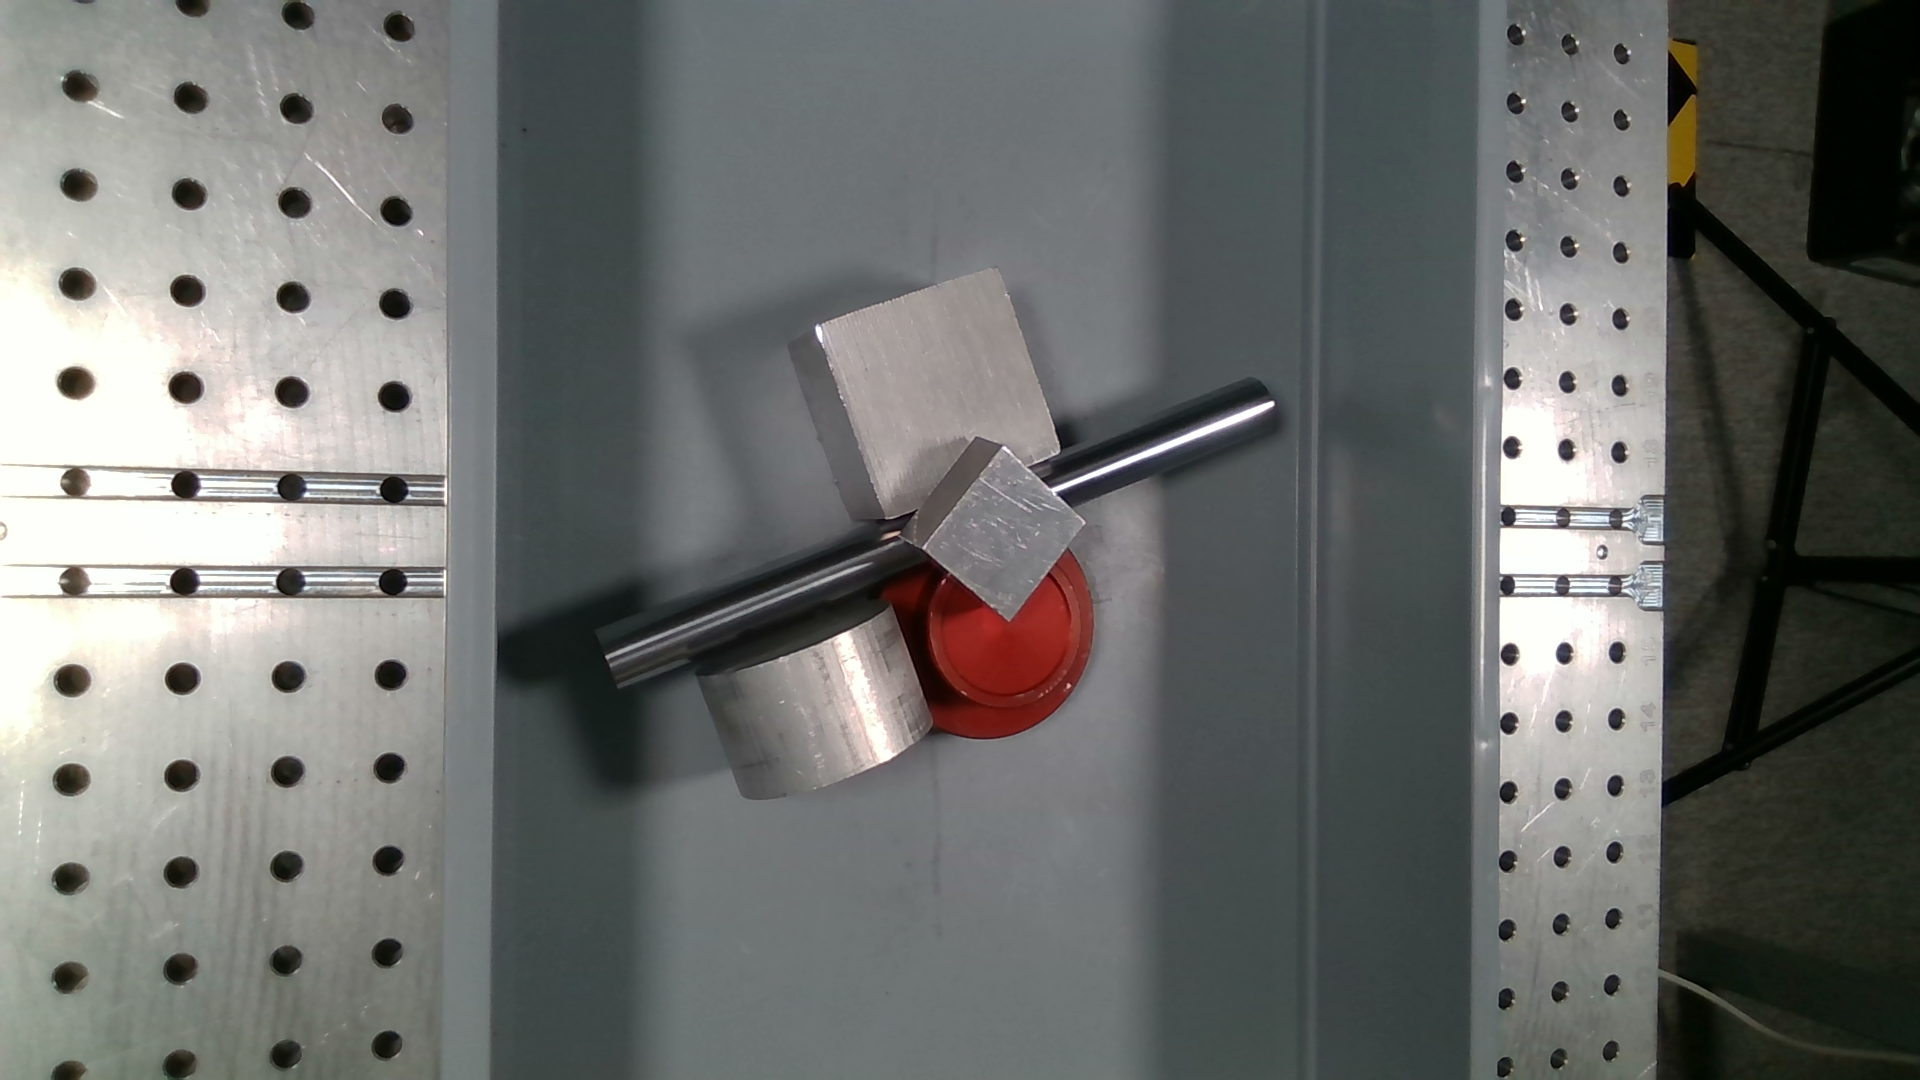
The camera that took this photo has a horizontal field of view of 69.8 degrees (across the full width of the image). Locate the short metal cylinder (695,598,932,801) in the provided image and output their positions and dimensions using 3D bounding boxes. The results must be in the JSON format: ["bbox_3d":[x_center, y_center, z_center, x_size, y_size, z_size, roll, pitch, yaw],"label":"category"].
[{"bbox_3d":[-0.056,0.061,0.535,0.080,0.080,0.050,-22,97,-19],"label":"short metal cylinder"}]

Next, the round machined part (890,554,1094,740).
[{"bbox_3d":[0.013,0.035,0.580,0.098,0.042,0.098,0,90,-20],"label":"round machined part"}]

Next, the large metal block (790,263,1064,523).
[{"bbox_3d":[-0.015,-0.059,0.563,0.080,0.050,0.080,-22,98,-19],"label":"large metal block"}]

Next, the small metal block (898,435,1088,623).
[{"bbox_3d":[0.013,-0.004,0.538,0.050,0.025,0.050,41,84,-27],"label":"small metal block"}]

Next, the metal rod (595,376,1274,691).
[{"bbox_3d":[0.000,-0.008,0.562,0.300,0.025,0.025,-22,97,-19],"label":"metal rod"}]
